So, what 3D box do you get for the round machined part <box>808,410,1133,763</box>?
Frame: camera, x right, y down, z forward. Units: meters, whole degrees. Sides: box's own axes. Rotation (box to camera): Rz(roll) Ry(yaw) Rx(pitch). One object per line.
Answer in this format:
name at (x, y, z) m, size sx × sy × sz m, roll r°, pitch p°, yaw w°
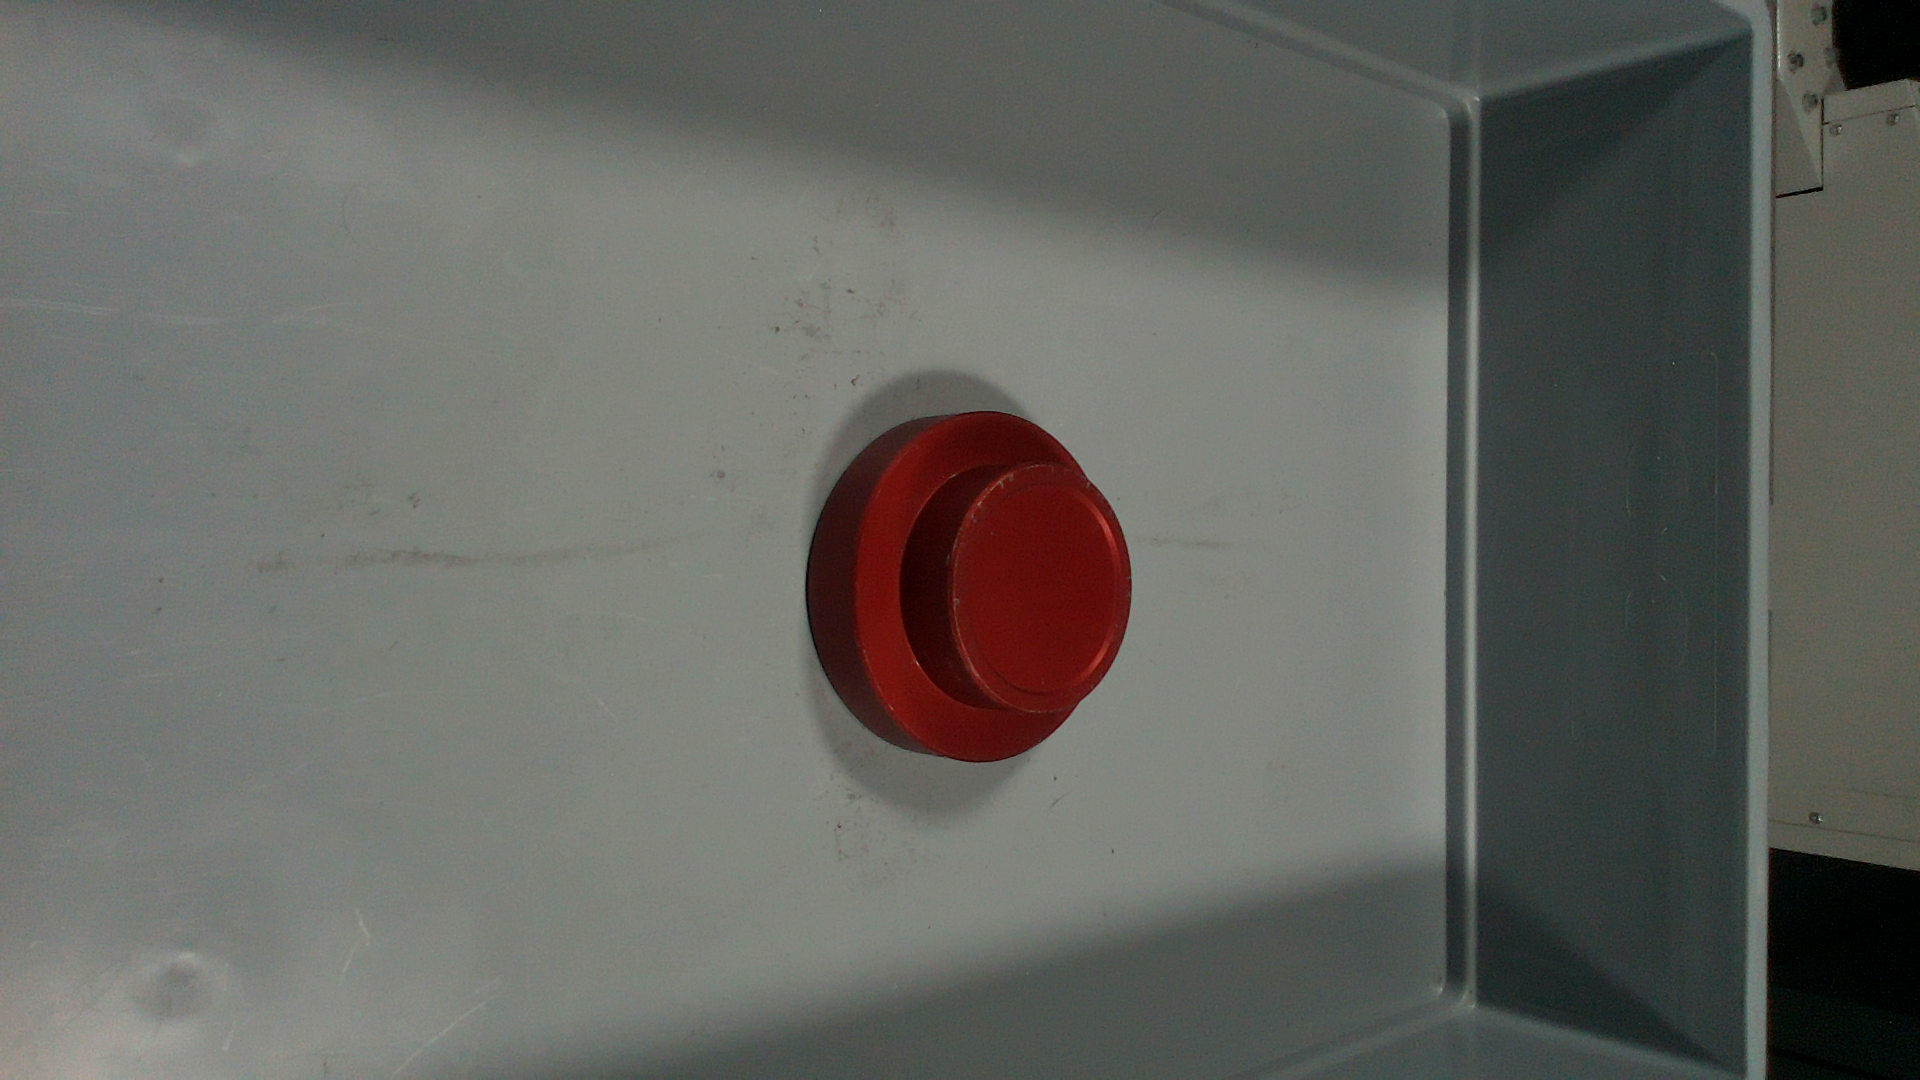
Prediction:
round machined part at (0.010, 0.013, 0.382) m, size 0.098 × 0.042 × 0.098 m, roll 0°, pitch 90°, yaw -40°
